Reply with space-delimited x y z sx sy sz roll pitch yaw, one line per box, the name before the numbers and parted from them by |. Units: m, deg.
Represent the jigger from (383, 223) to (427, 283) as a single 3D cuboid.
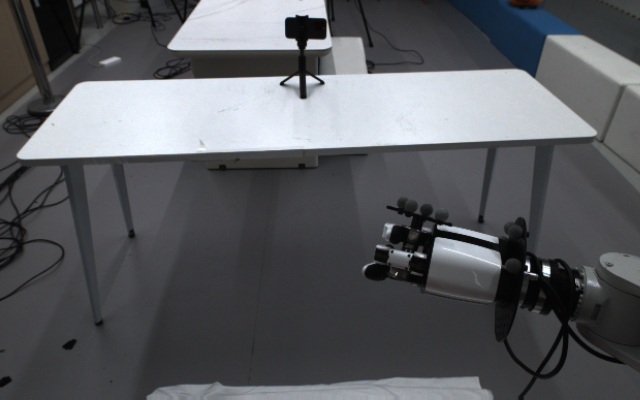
jigger | 0.118 0.069 0.640 0.043 0.071 0.043 17 2 -1
